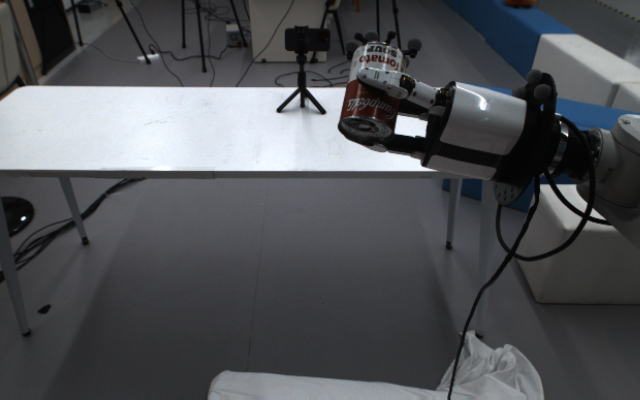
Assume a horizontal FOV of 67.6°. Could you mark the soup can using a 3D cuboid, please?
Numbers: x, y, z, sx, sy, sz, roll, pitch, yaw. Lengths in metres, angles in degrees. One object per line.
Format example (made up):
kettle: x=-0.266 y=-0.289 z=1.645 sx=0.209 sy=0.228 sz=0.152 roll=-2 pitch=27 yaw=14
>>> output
soup can: x=0.065 y=-0.129 z=0.582 sx=0.067 sy=0.067 sz=0.101 roll=9 pitch=74 yaw=9
